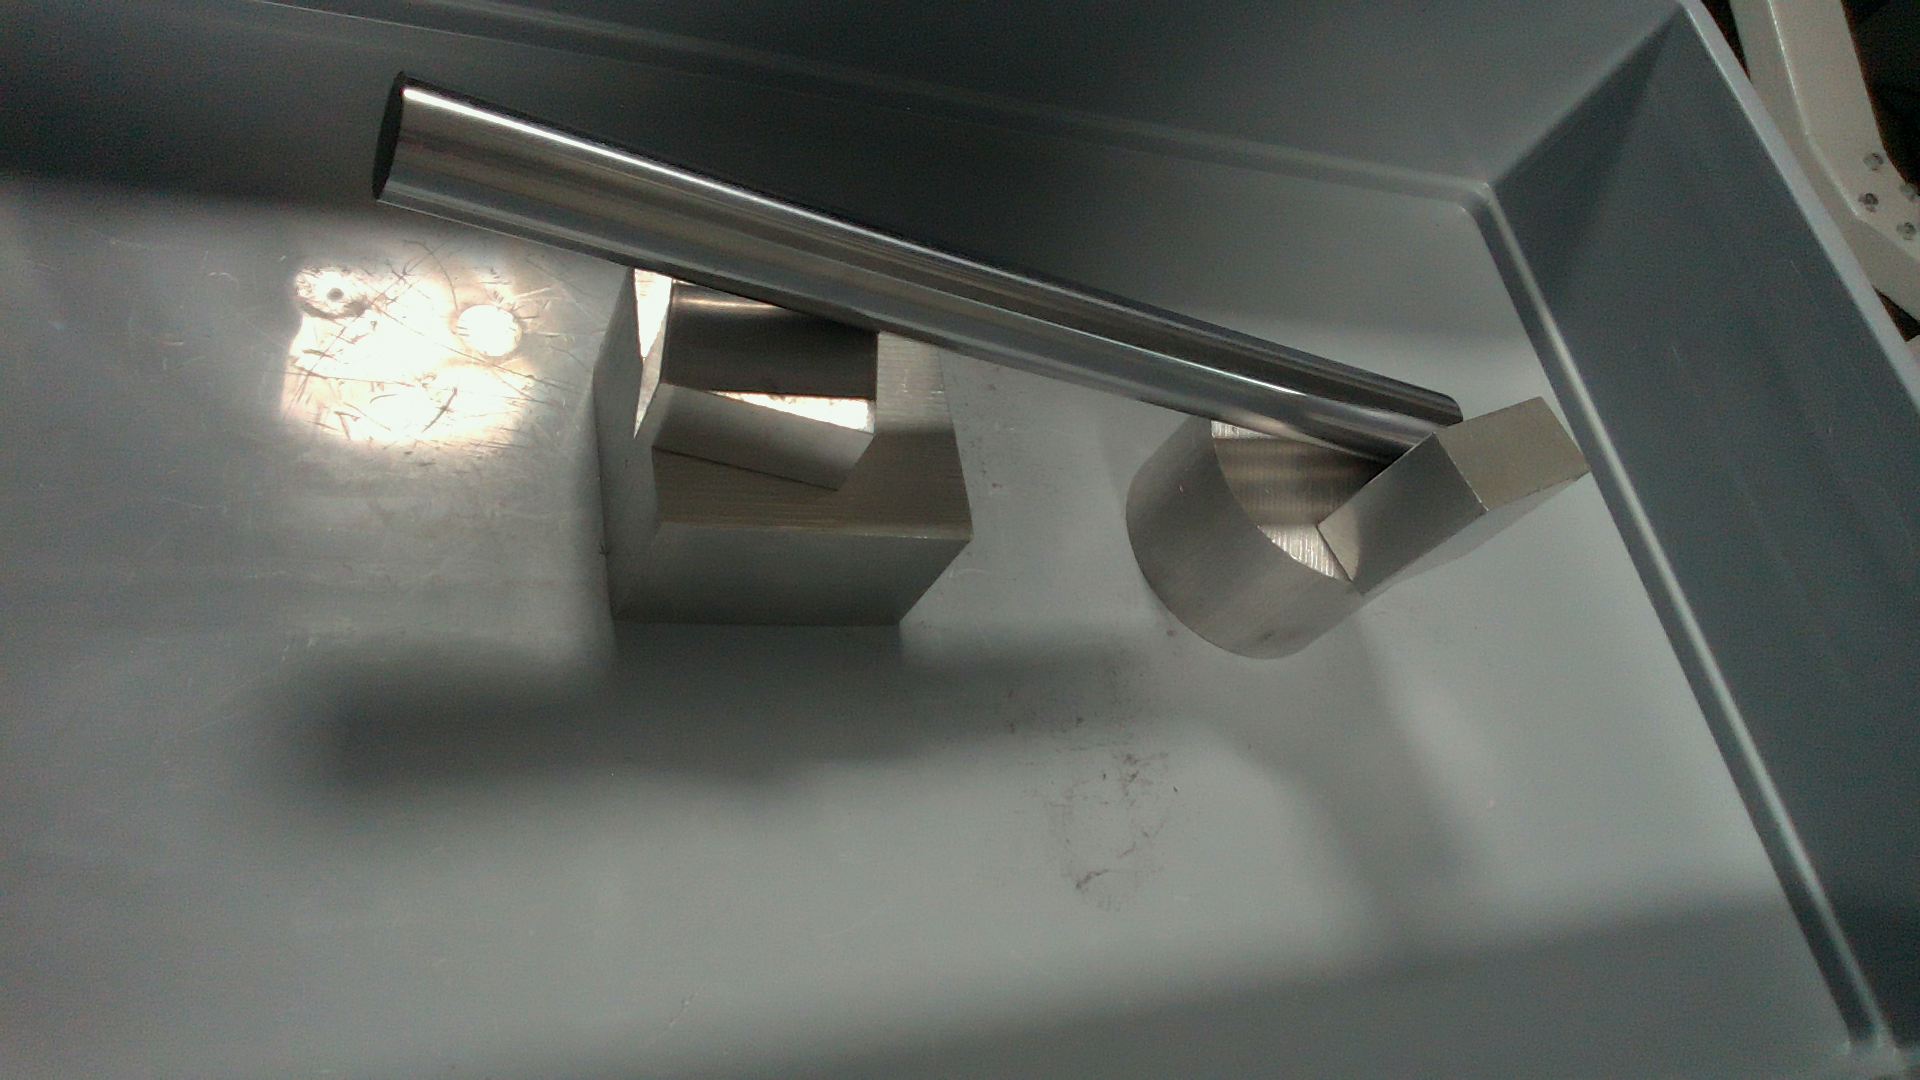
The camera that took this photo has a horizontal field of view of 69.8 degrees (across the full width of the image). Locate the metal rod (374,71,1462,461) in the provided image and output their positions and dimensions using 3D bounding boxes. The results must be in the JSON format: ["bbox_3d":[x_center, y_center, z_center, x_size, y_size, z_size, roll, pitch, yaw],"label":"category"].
[{"bbox_3d":[0.018,-0.054,0.340,0.301,0.025,0.025,10,57,-32],"label":"metal rod"}]

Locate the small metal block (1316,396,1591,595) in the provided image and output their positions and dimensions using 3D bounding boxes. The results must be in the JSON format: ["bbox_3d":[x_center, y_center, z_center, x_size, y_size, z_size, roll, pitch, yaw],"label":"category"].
[{"bbox_3d":[0.139,-0.013,0.389,0.050,0.050,0.025,-16,70,-34],"label":"small metal block"}]

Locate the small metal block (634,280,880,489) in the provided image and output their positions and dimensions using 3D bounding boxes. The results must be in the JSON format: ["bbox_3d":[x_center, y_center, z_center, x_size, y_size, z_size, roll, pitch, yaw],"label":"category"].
[{"bbox_3d":[-0.047,-0.045,0.326,0.050,0.025,0.050,12,56,-21],"label":"small metal block"}]

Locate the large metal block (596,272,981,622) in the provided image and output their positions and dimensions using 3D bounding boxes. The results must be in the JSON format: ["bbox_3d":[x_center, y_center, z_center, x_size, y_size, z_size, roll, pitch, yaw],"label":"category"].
[{"bbox_3d":[-0.048,-0.026,0.360,0.080,0.050,0.080,3,60,-27],"label":"large metal block"}]

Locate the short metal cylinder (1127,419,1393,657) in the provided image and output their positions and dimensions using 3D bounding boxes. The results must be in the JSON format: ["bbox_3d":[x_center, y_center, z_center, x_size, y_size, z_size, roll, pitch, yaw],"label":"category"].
[{"bbox_3d":[0.100,-0.010,0.432,0.080,0.050,0.080,14,56,-21],"label":"short metal cylinder"}]
